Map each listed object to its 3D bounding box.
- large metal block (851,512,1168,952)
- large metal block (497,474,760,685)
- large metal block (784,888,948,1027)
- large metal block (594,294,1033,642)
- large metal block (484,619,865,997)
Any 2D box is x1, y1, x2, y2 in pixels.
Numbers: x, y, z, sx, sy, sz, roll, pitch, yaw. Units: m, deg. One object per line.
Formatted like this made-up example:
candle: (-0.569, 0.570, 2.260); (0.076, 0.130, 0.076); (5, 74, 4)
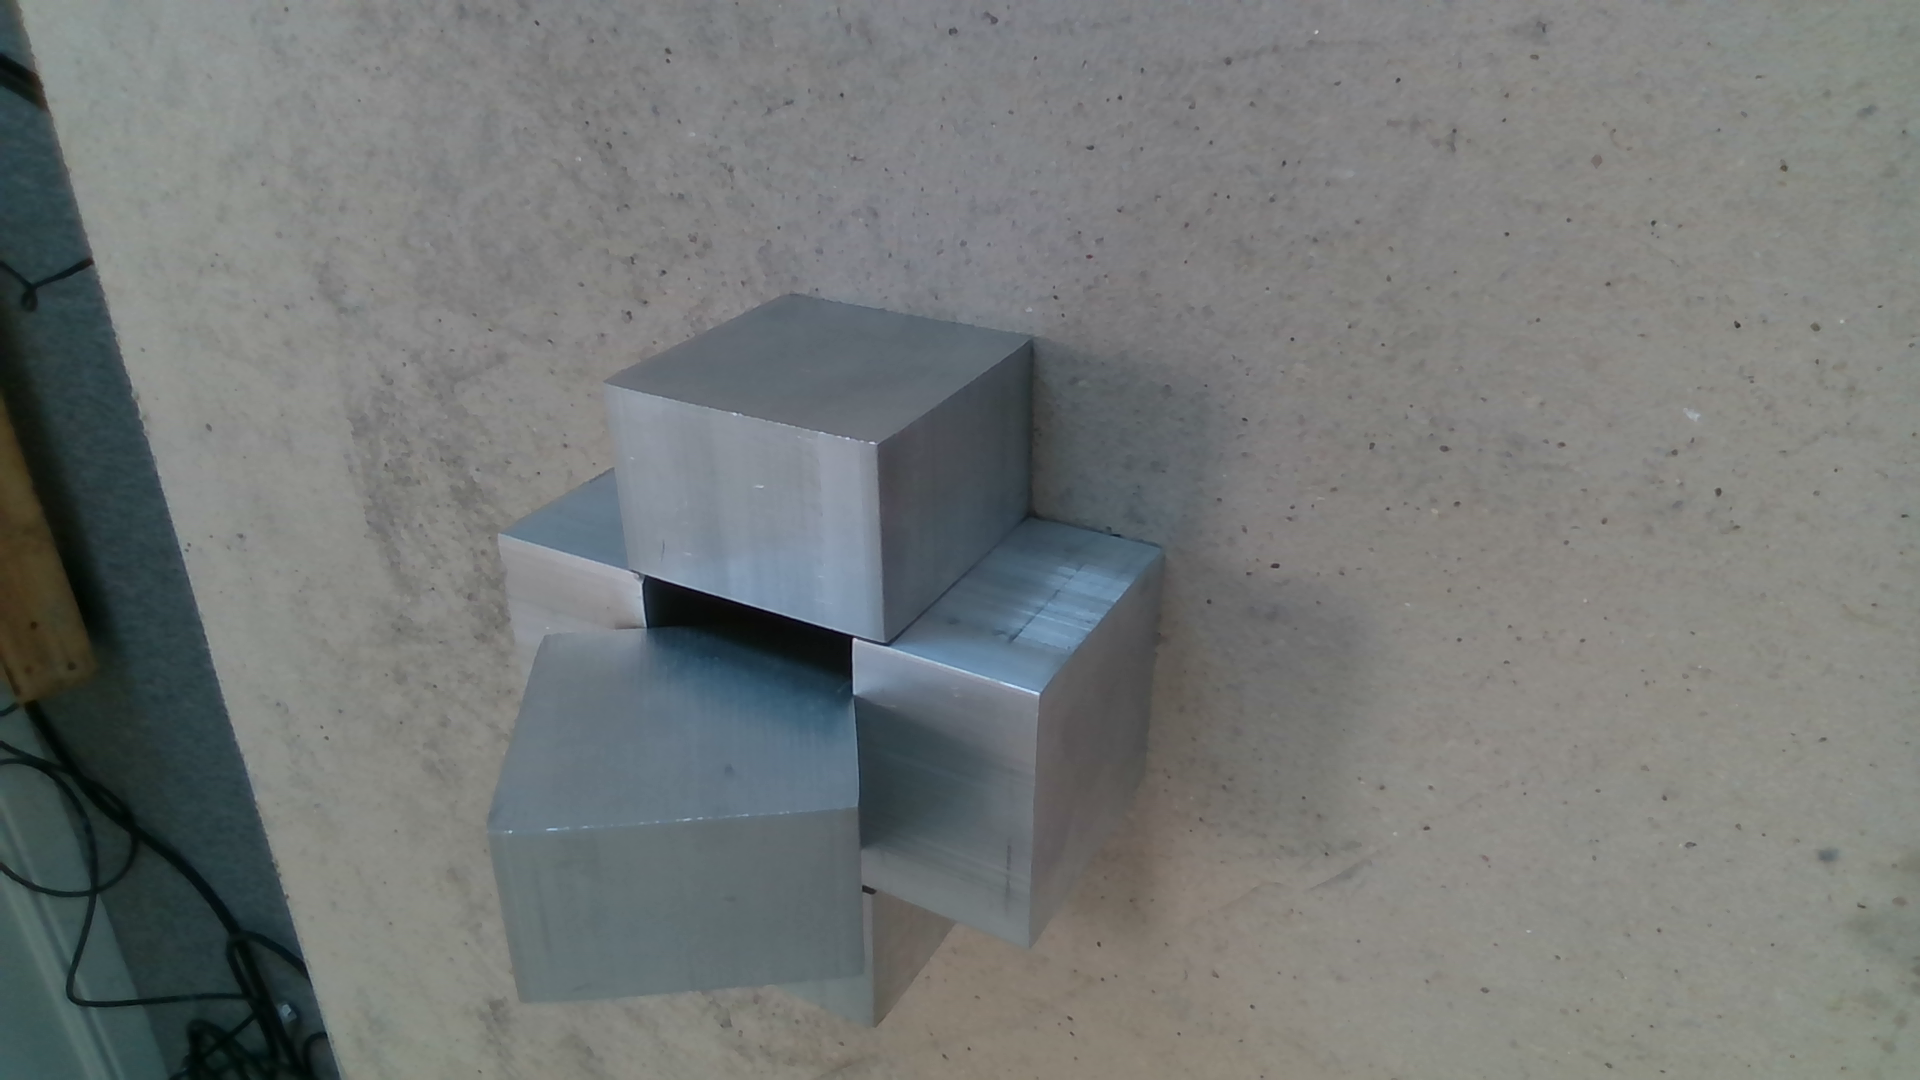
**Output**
large metal block: (0.015, 0.047, 0.371); (0.050, 0.080, 0.080); (15, 122, 25)
large metal block: (-0.086, 0.022, 0.419); (0.050, 0.080, 0.080); (14, 122, 25)
large metal block: (-0.040, 0.091, 0.428); (0.080, 0.080, 0.050); (15, 122, 24)
large metal block: (-0.035, -0.023, 0.361); (0.080, 0.080, 0.050); (14, 122, 25)
large metal block: (-0.066, 0.063, 0.345); (0.080, 0.080, 0.050); (-2, 119, -5)
